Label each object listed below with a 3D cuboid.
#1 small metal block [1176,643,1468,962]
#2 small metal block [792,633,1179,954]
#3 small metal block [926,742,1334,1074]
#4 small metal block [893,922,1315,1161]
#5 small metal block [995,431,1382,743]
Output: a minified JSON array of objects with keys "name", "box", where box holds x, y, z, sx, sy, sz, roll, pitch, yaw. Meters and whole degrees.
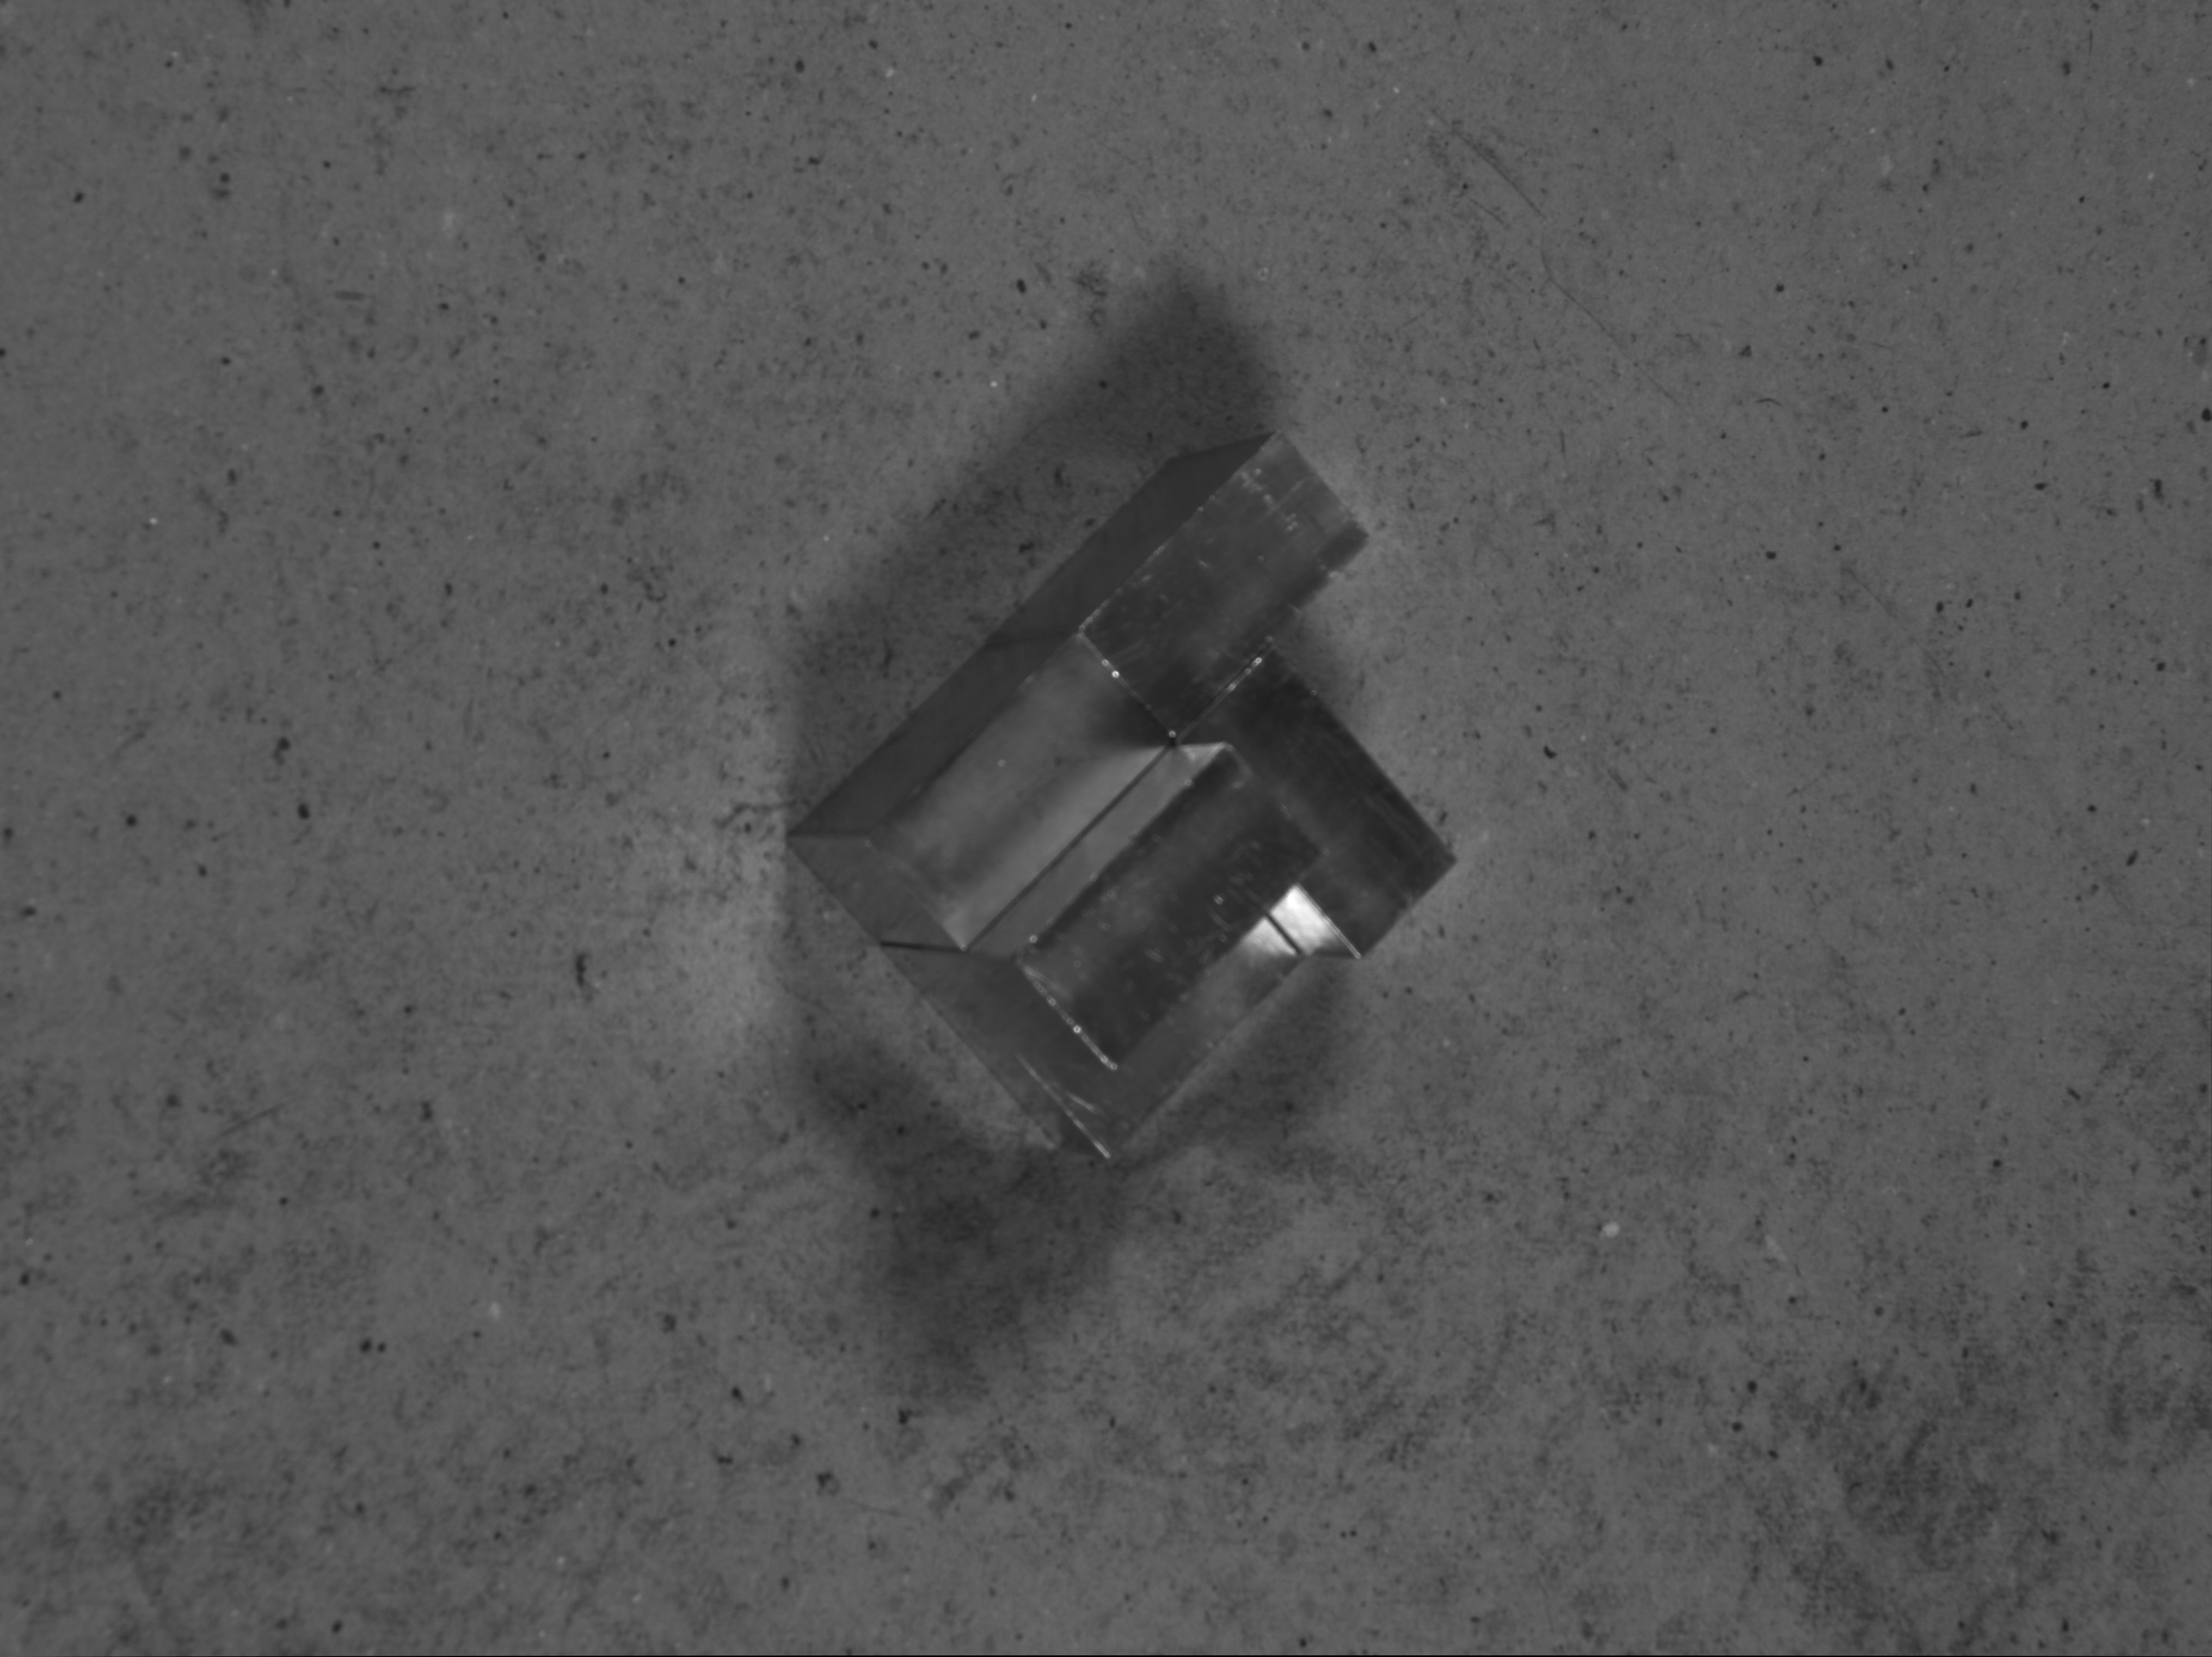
[{"name":"small metal block","box":[0.029,-0.004,0.640,0.025,0.050,0.050,-45,104,-14]},{"name":"small metal block","box":[-0.021,-0.006,0.622,0.050,0.050,0.025,-45,104,-14]},{"name":"small metal block","box":[0.003,0.012,0.605,0.050,0.050,0.025,-45,104,-14]},{"name":"small metal block","box":[-0.001,0.022,0.643,0.050,0.025,0.050,-44,104,-15]},{"name":"small metal block","box":[0.013,-0.040,0.635,0.050,0.050,0.025,-45,104,-14]}]
